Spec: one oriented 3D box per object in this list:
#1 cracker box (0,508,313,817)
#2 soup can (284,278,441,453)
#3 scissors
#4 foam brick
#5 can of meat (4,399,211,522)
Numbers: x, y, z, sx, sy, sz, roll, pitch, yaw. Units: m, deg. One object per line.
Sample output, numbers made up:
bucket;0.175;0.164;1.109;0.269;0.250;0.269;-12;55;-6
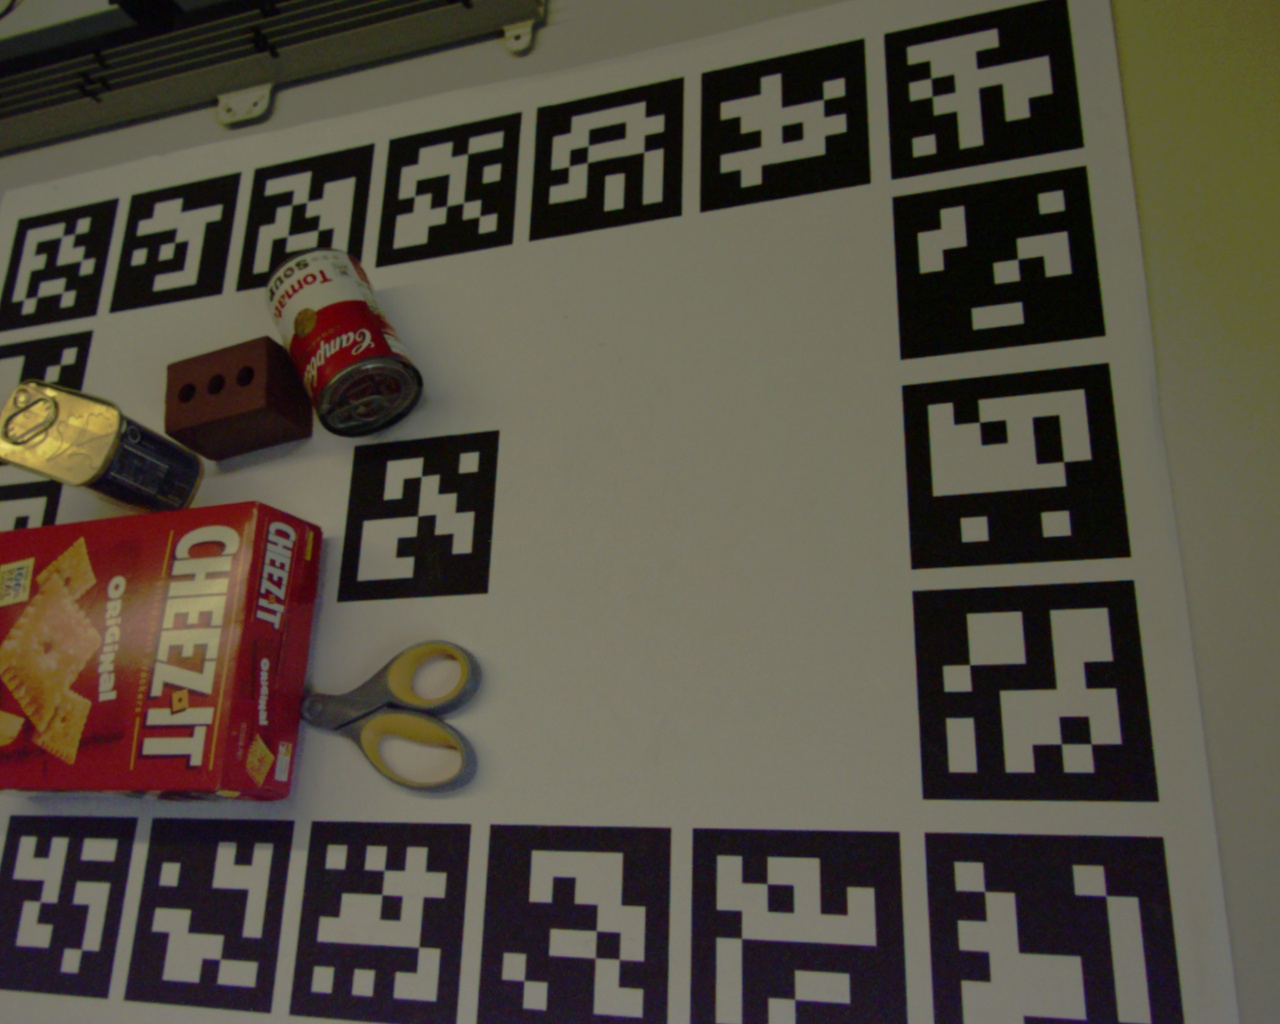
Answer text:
cracker box;-0.313;0.098;0.711;0.215;0.071;0.164;-11;70;21
soup can;-0.183;-0.097;0.746;0.068;0.067;0.103;-40;60;5
scissors;-0.194;0.131;0.690;0.204;0.015;0.088;-9;72;18
foam brick;-0.261;-0.065;0.767;0.078;0.051;0.053;-15;71;16
can of meat;-0.358;-0.032;0.774;0.103;0.083;0.058;10;79;22
